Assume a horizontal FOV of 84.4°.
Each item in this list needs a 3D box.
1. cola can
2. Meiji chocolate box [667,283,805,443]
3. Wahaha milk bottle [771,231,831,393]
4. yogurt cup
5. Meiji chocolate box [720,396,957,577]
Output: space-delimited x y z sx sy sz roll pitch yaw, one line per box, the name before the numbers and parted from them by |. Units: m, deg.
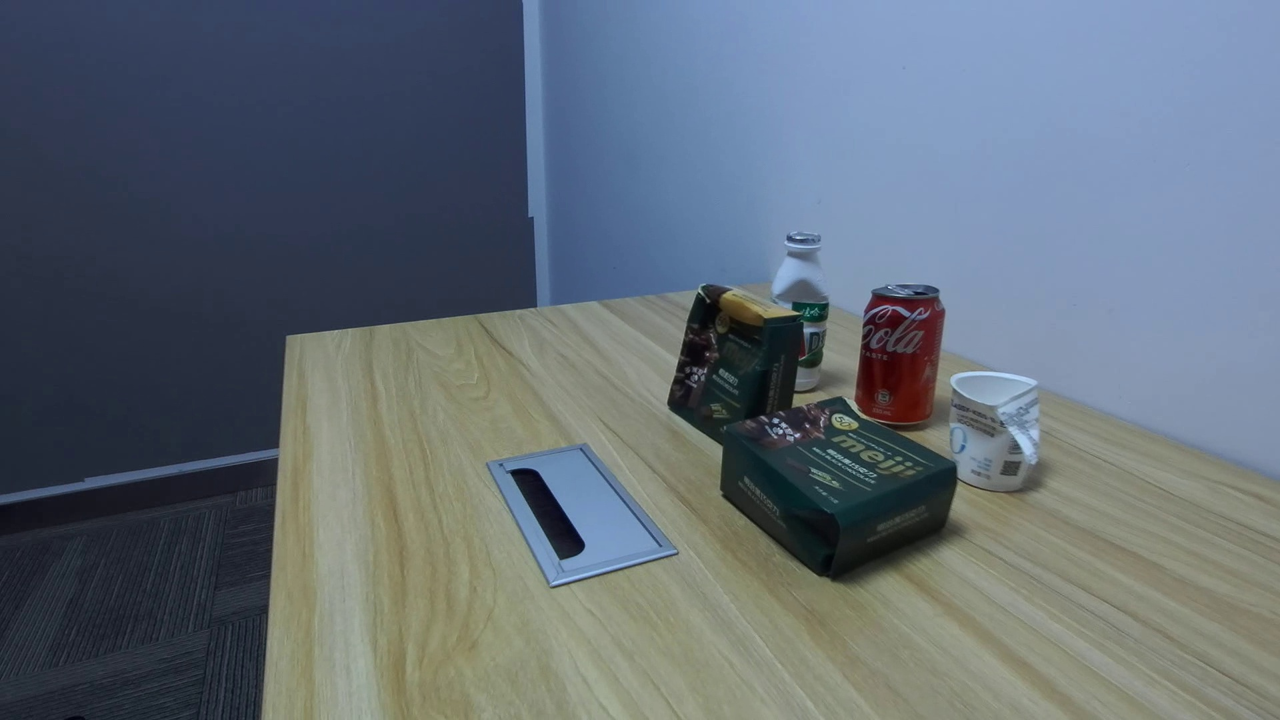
cola can | 0.222 -0.005 0.601 0.072 0.117 0.065 -13 26 -30
Meiji chocolate box | 0.079 0.004 0.583 0.052 0.117 0.117 -2 19 -30
Wahaha milk bottle | 0.151 -0.044 0.667 0.056 0.148 0.056 -1 20 1
yogurt cup | 0.256 0.052 0.516 0.067 0.070 0.067 -1 21 1
Meiji chocolate box | 0.128 0.080 0.464 0.123 0.058 0.115 -11 26 -27
